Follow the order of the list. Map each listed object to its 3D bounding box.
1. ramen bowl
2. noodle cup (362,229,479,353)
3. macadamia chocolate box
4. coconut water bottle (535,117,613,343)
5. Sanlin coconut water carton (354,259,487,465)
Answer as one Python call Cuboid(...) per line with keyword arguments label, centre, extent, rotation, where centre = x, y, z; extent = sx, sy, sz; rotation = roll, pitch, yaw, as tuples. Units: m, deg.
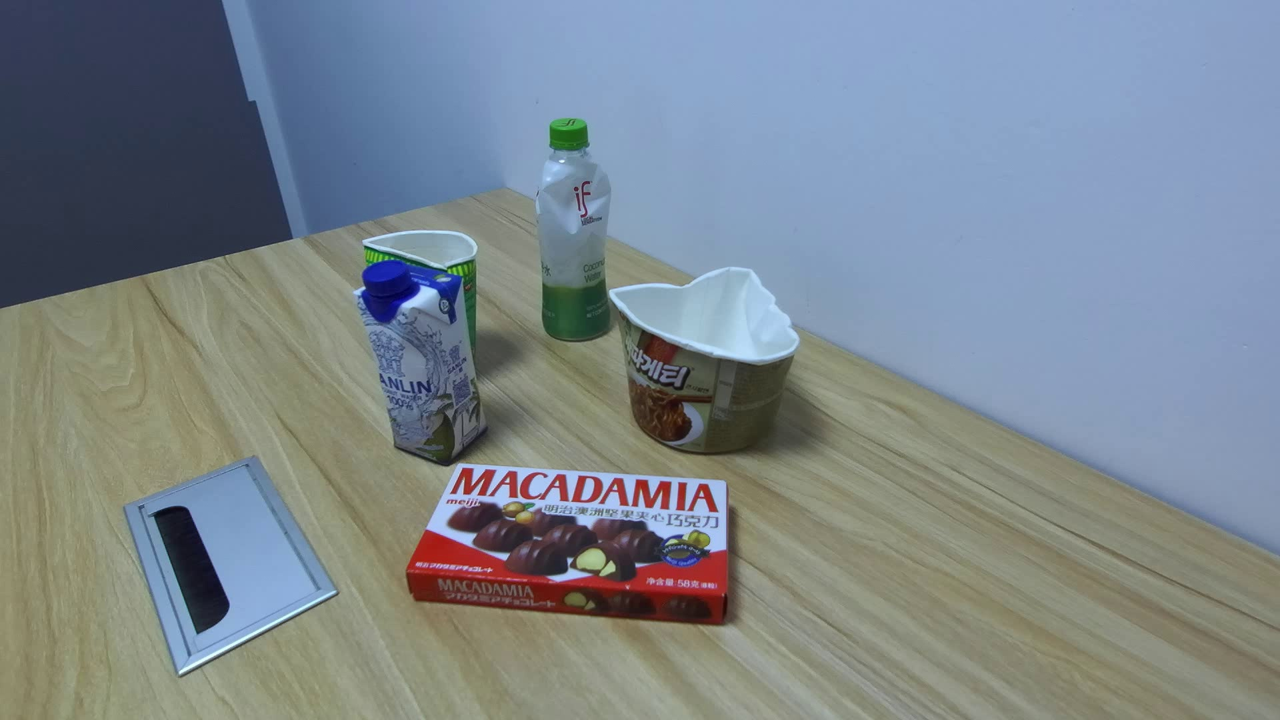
Cuboid(label="ramen bowl", centre=(0.053, 0.004, 0.515), extent=(0.114, 0.097, 0.133), rotation=(-13, 34, -19))
Cuboid(label="noodle cup", centre=(-0.172, -0.040, 0.577), extent=(0.075, 0.122, 0.082), rotation=(-13, 25, -34))
Cuboid(label="macadamia chocolate box", centre=(-0.037, 0.107, 0.425), extent=(0.178, 0.027, 0.095), rotation=(3, 31, 6))
Cuboid(label="coconut water bottle", centre=(-0.058, -0.110, 0.615), extent=(0.067, 0.187, 0.067), rotation=(1, 31, 0))
Cuboid(label="Sanlin coconut water carton", centre=(-0.150, -0.002, 0.489), extent=(0.060, 0.144, 0.061), rotation=(13, 33, 22))
